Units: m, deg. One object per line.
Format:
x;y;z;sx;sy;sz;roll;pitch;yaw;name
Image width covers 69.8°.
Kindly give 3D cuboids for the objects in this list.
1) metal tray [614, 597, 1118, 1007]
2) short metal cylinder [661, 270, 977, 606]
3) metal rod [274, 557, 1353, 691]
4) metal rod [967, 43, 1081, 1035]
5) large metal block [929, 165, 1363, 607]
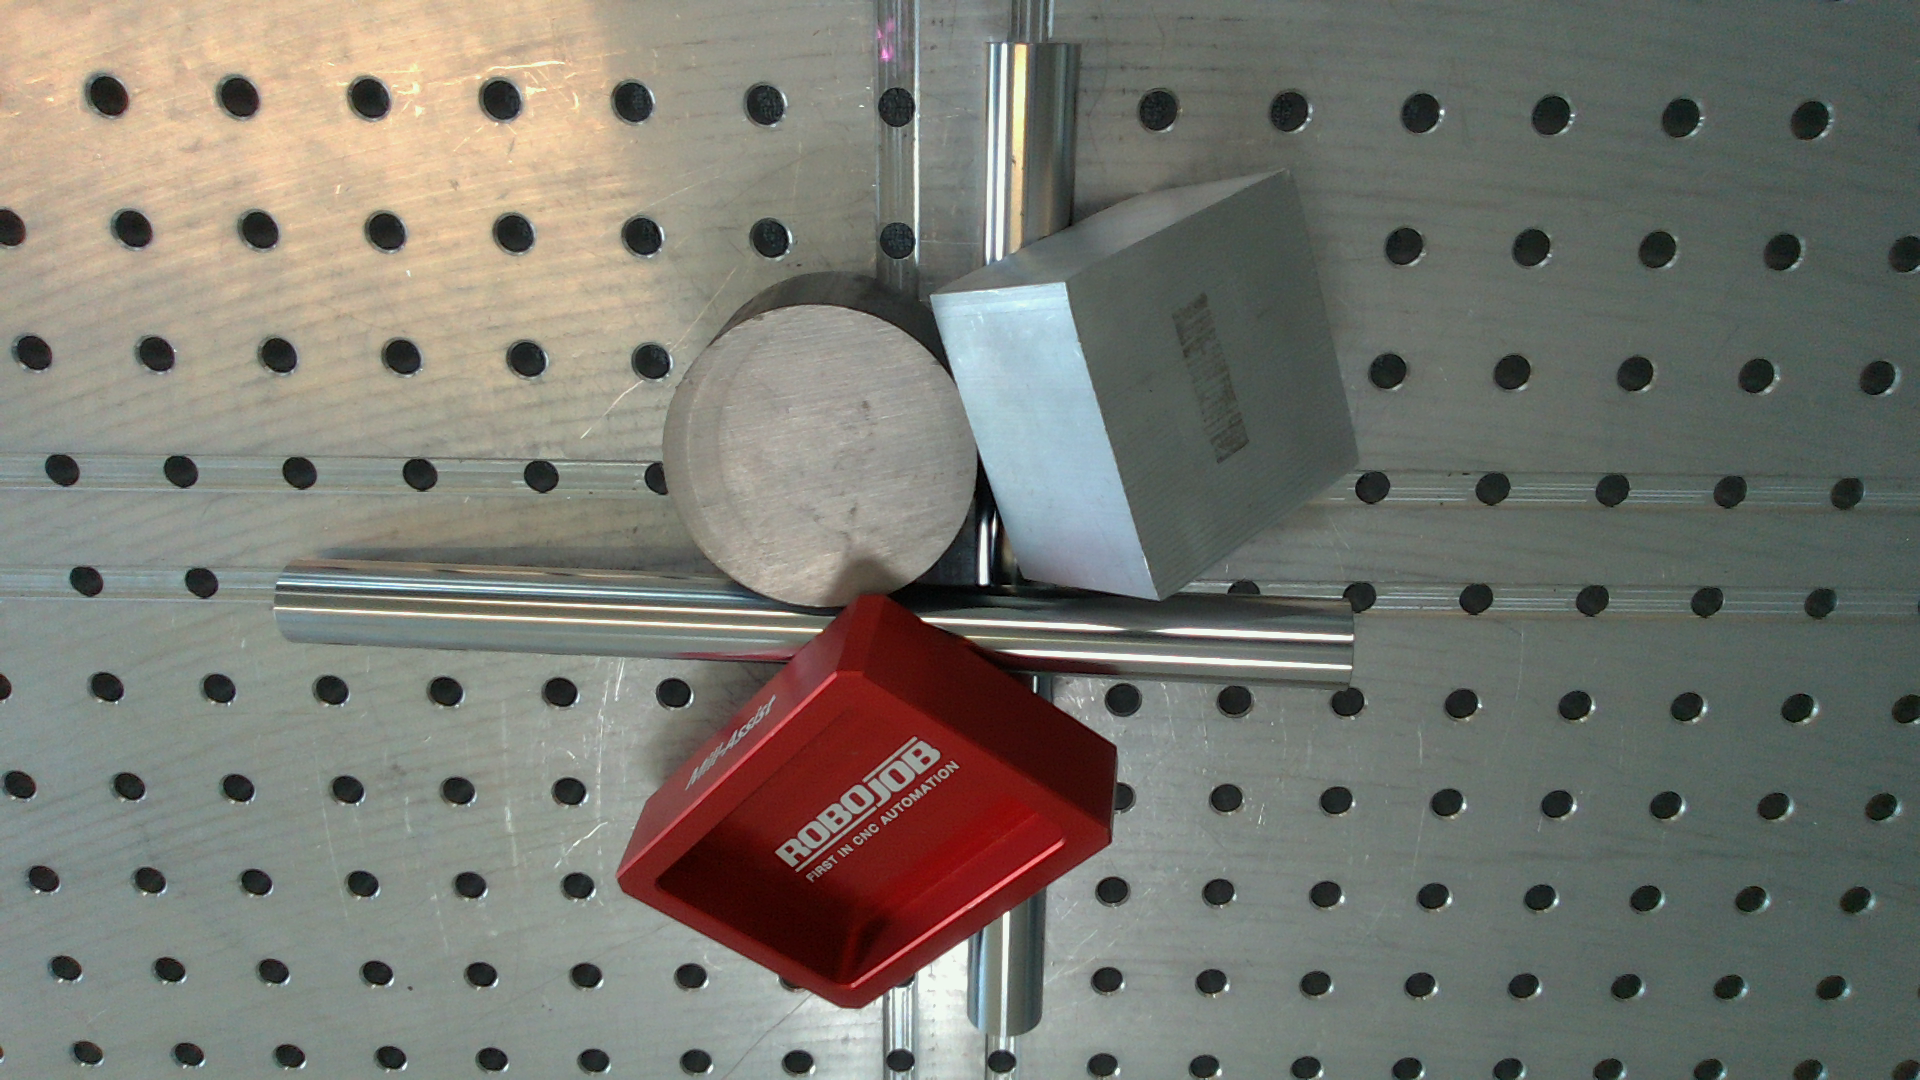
-0.029;0.081;0.396;0.090;0.030;0.130;34;127;-18;metal tray
-0.036;-0.029;0.372;0.080;0.050;0.080;0;110;0;short metal cylinder
-0.045;0.023;0.387;0.300;0.025;0.025;2;110;7;metal rod
0.016;0.014;0.402;0.025;0.025;0.300;1;110;0;metal rod
0.049;-0.040;0.347;0.080;0.050;0.080;-31;113;-31;large metal block
